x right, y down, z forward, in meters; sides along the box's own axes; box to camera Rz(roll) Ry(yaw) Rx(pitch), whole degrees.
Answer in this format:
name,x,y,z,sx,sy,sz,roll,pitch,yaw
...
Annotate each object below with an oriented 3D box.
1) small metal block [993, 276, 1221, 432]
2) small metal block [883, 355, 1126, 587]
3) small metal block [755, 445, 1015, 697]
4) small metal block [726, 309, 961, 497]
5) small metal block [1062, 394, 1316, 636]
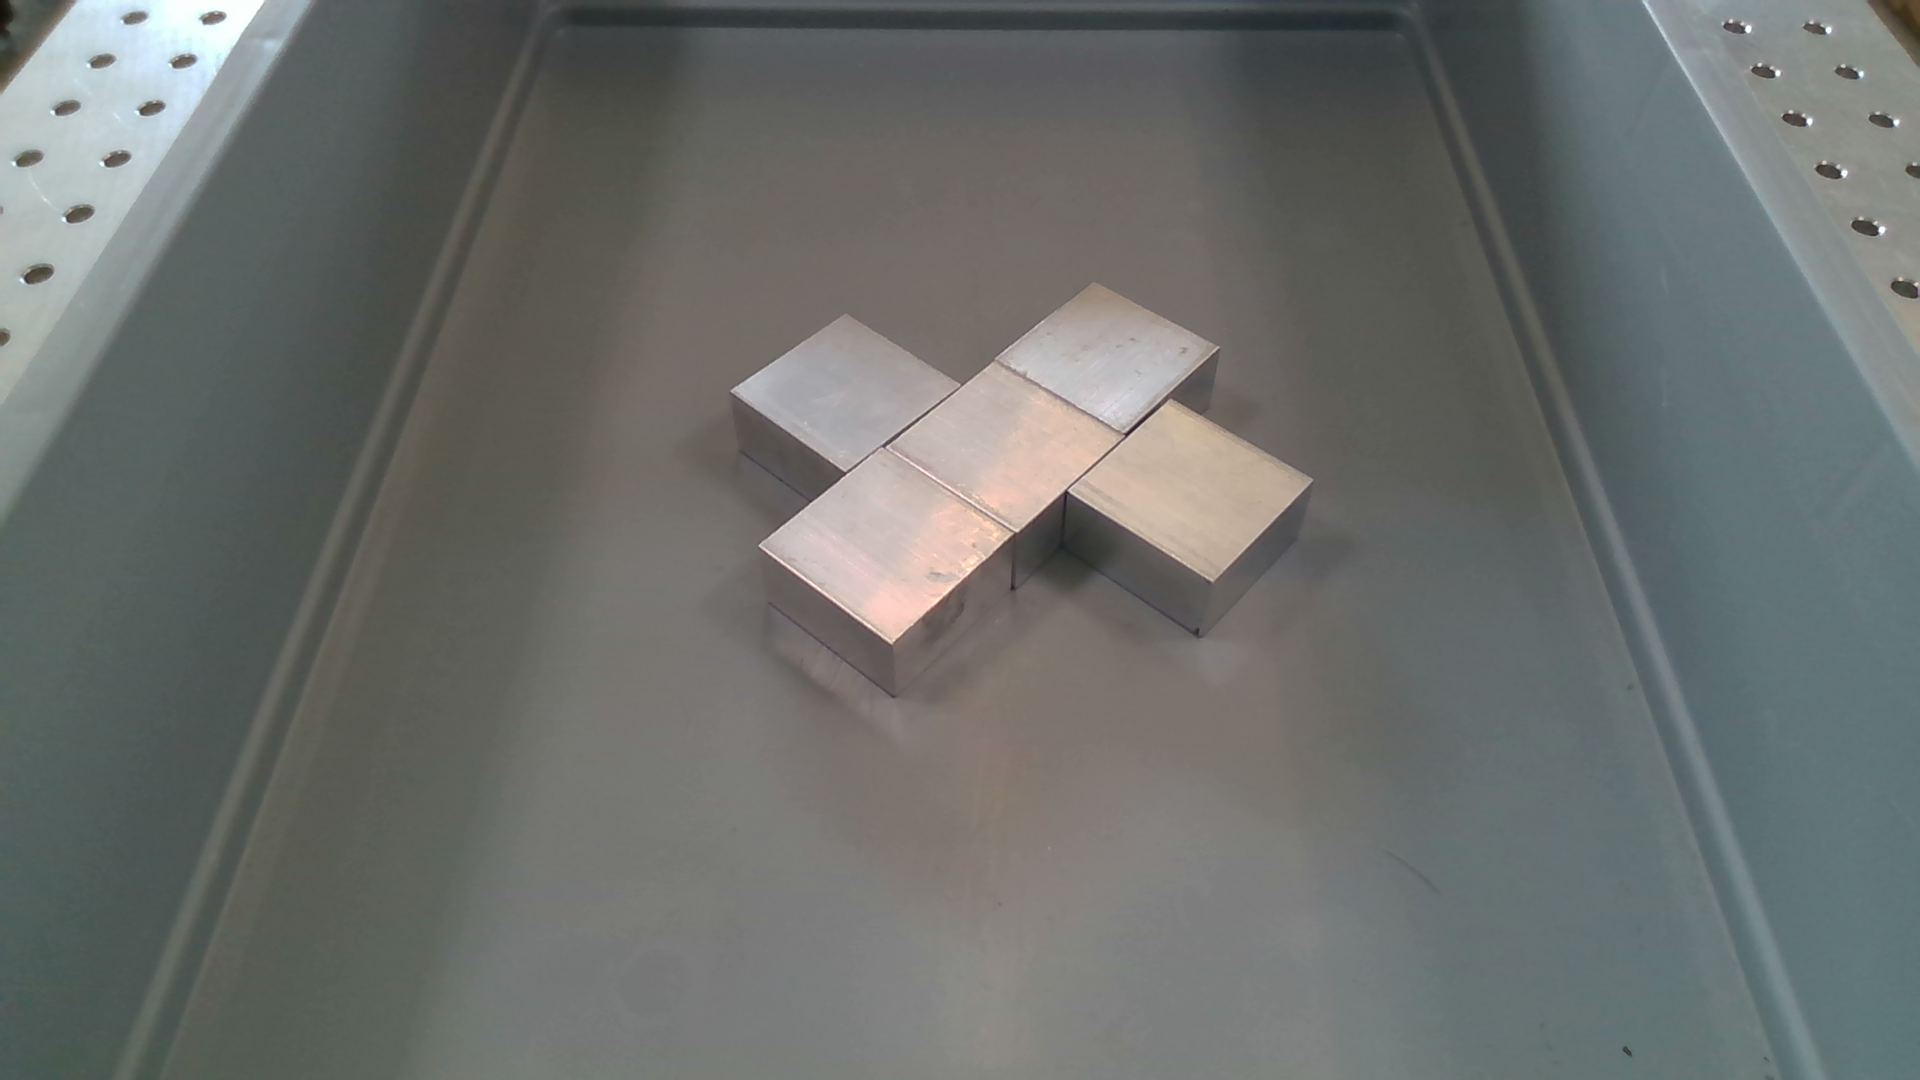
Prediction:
name,x,y,z,sx,sy,sz,roll,pitch,yaw
small metal block,0.045,-0.051,0.434,0.050,0.025,0.050,34,58,25
small metal block,0.013,-0.021,0.409,0.050,0.025,0.050,34,58,25
small metal block,-0.020,0.008,0.385,0.050,0.025,0.050,34,58,25
small metal block,-0.035,-0.038,0.424,0.050,0.025,0.050,35,58,26
small metal block,0.065,-0.008,0.398,0.050,0.025,0.050,35,58,24
